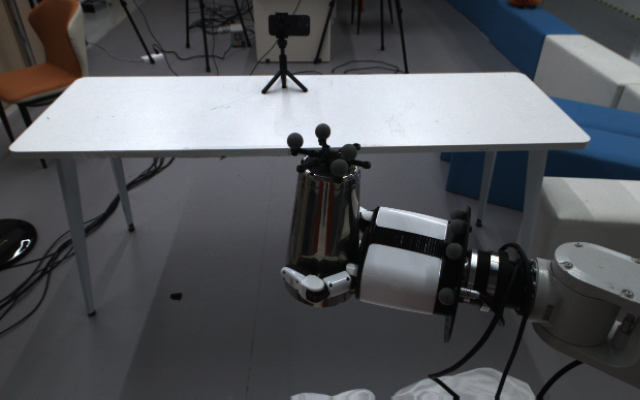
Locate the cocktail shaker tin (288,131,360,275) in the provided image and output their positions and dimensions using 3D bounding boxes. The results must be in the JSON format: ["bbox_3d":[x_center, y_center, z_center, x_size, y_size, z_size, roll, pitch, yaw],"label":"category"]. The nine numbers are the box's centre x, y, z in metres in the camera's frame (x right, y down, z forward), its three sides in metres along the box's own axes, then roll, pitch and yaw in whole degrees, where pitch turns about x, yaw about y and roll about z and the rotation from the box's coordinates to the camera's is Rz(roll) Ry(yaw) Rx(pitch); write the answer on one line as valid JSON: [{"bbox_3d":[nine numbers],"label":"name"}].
[{"bbox_3d":[0.007,0.032,0.565,0.093,0.170,0.093,3,34,-2],"label":"cocktail shaker tin"}]
